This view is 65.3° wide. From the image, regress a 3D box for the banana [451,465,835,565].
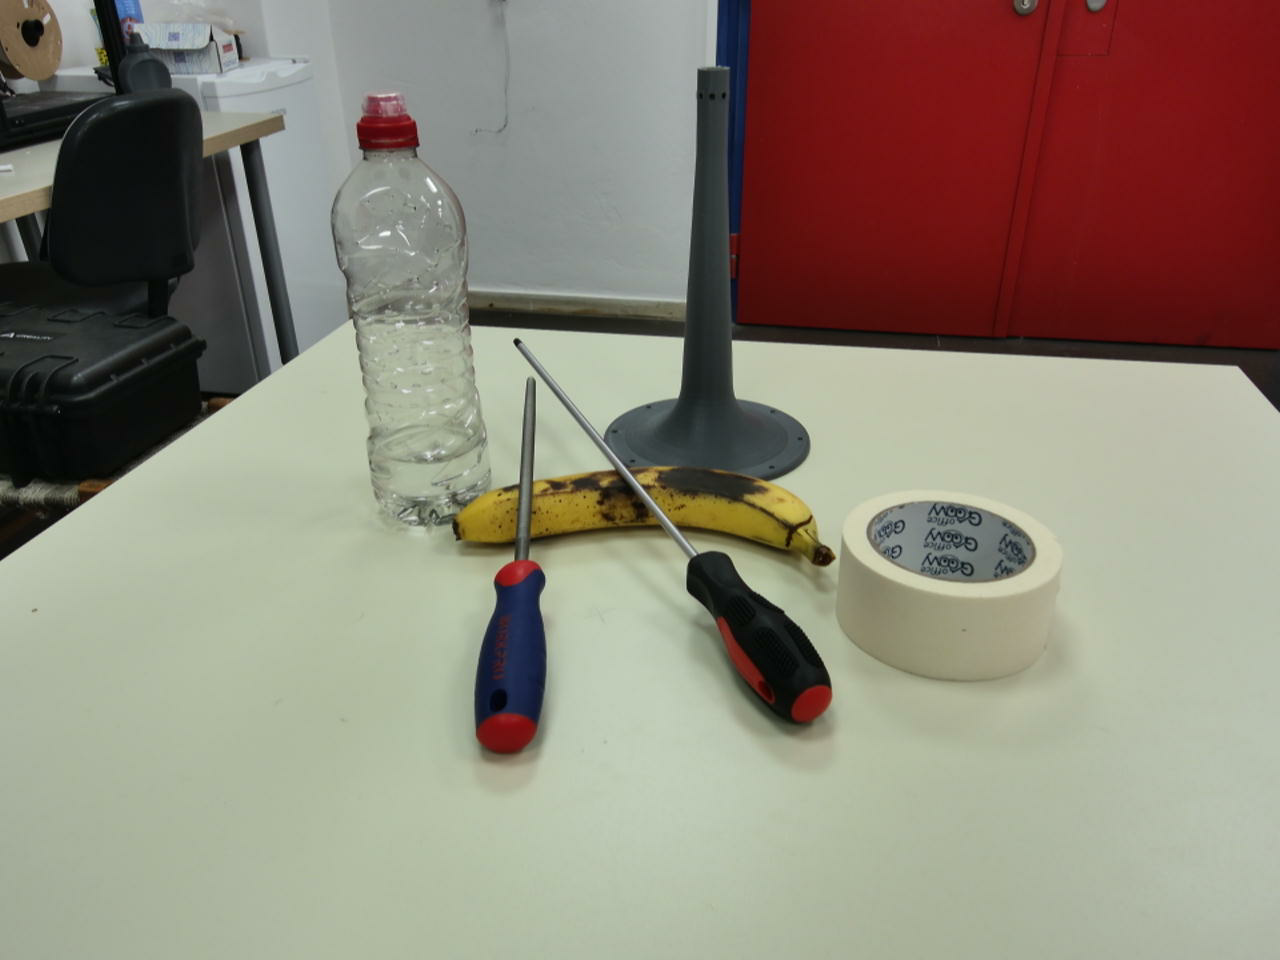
[{"bbox_3d":[0.005,0.018,0.597,0.222,0.037,0.084,5,26,11],"label":"banana"}]
